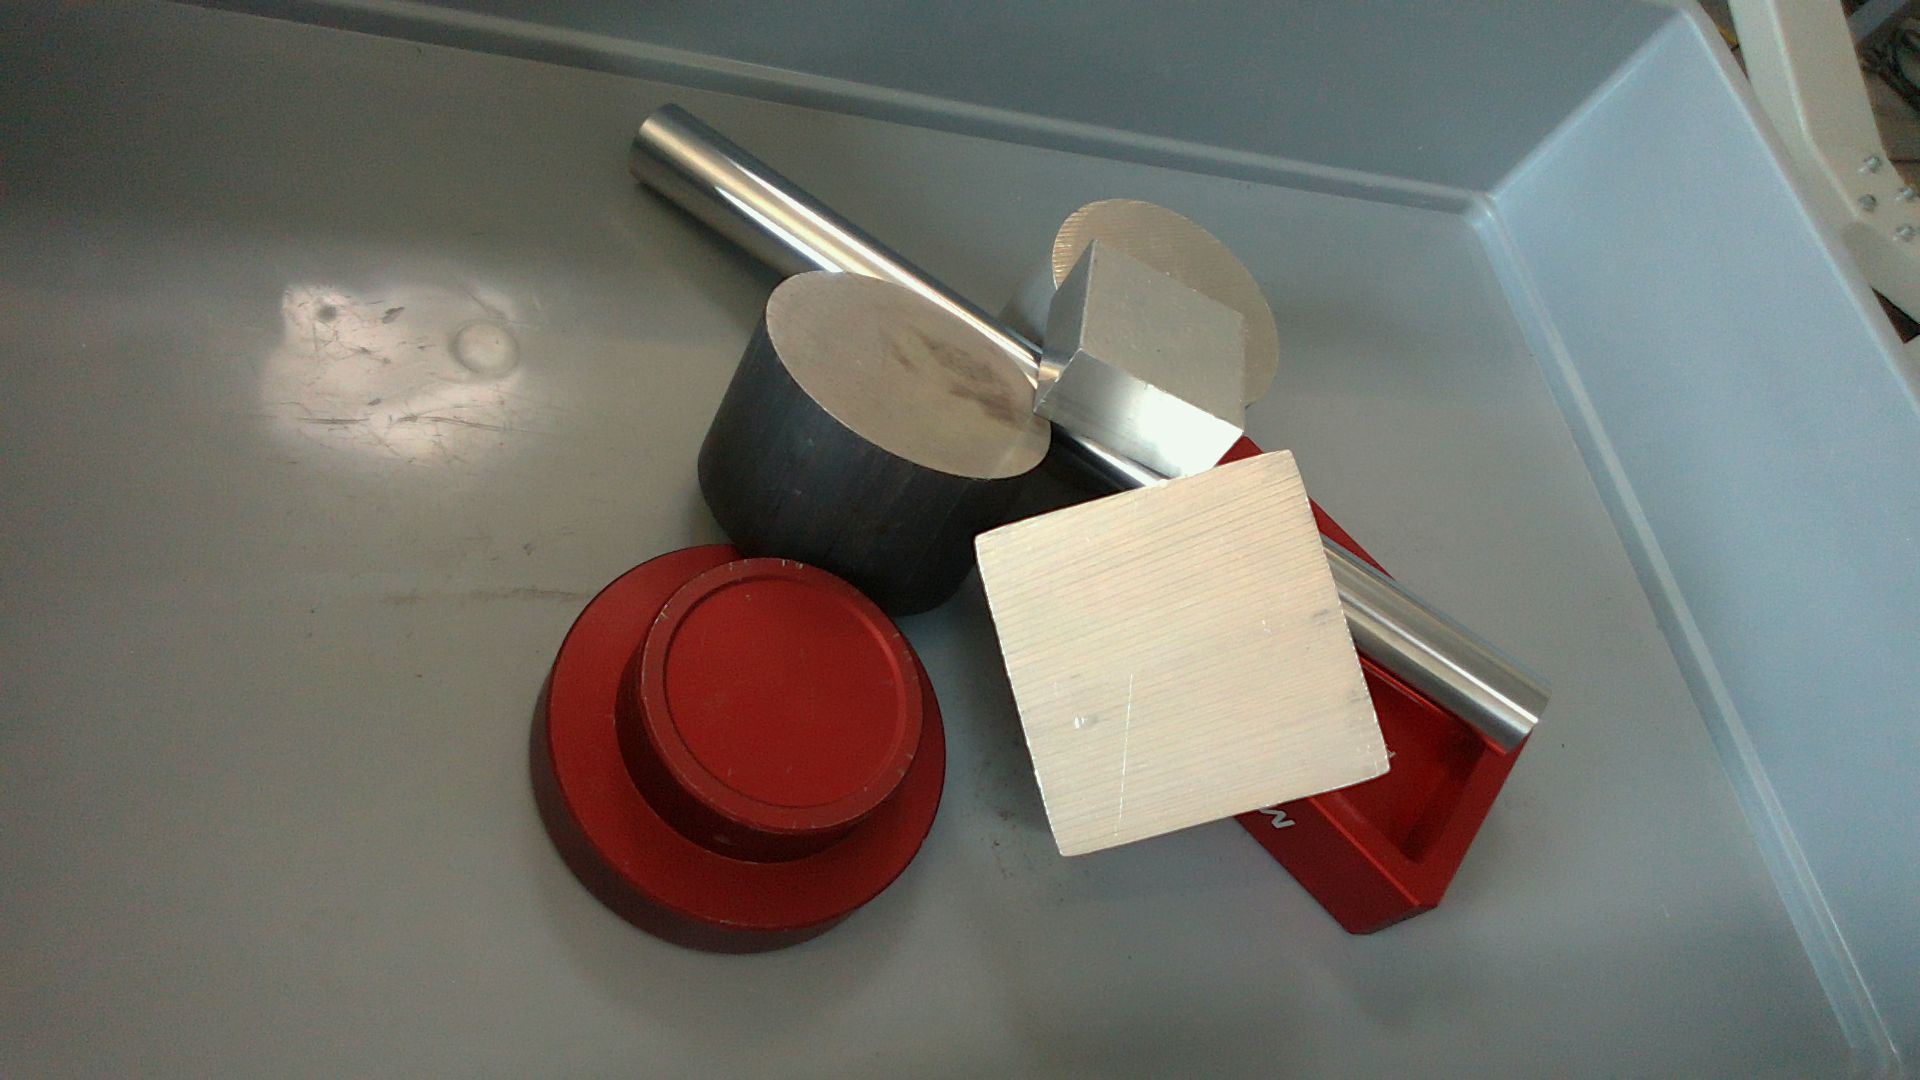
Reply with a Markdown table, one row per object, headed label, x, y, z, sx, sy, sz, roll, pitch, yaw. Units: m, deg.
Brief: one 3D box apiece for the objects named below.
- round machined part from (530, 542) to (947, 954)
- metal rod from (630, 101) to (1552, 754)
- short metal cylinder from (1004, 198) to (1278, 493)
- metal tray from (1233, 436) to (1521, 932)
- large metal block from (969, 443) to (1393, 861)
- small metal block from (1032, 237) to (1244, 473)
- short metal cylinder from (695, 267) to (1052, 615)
| label | x | y | z | sx | sy | sz | roll | pitch | yaw |
| --- | --- | --- | --- | --- | --- | --- | --- | --- | --- |
| round machined part | -0.047 | 0.043 | 0.324 | 0.098 | 0.042 | 0.098 | 14 | 56 | -21 |
| metal rod | 0.032 | -0.036 | 0.396 | 0.300 | 0.025 | 0.025 | 34 | 51 | 6 |
| short metal cylinder | 0.053 | -0.061 | 0.438 | 0.080 | 0.050 | 0.080 | 14 | 56 | -21 |
| metal tray | 0.102 | 0.040 | 0.415 | 0.130 | 0.030 | 0.090 | 45 | 51 | 3 |
| large metal block | 0.053 | 0.029 | 0.349 | 0.080 | 0.050 | 0.080 | -16 | 82 | 1 |
| small metal block | 0.049 | -0.049 | 0.377 | 0.050 | 0.025 | 0.050 | 24 | 45 | -13 |
| short metal cylinder | -0.023 | -0.027 | 0.362 | 0.080 | 0.050 | 0.080 | 22 | 35 | -16 |
